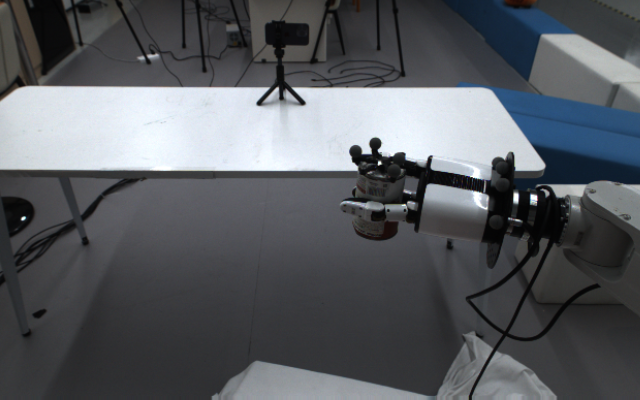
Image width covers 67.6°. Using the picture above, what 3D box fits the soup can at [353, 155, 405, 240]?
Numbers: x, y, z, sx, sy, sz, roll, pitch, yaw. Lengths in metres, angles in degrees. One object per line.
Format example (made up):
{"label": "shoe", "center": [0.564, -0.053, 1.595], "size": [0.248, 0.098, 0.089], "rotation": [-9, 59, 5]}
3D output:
{"label": "soup can", "center": [0.084, -0.003, 0.687], "size": [0.067, 0.101, 0.067], "rotation": [2, 32, -1]}
